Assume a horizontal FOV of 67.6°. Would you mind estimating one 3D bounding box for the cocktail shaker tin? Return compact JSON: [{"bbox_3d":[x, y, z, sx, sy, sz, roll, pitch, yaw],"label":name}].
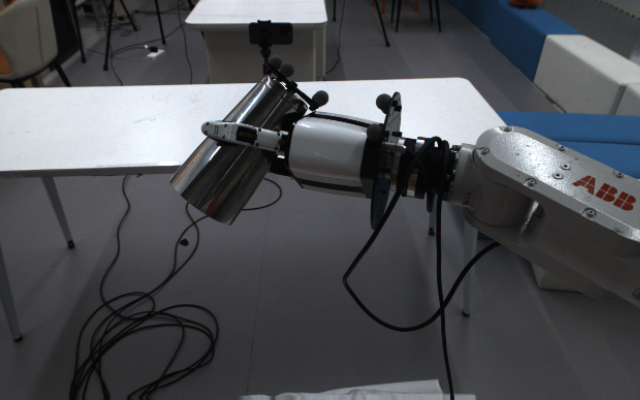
[{"bbox_3d":[-0.091,-0.067,0.587,0.170,0.093,0.093,-50,46,4],"label":"cocktail shaker tin"}]
